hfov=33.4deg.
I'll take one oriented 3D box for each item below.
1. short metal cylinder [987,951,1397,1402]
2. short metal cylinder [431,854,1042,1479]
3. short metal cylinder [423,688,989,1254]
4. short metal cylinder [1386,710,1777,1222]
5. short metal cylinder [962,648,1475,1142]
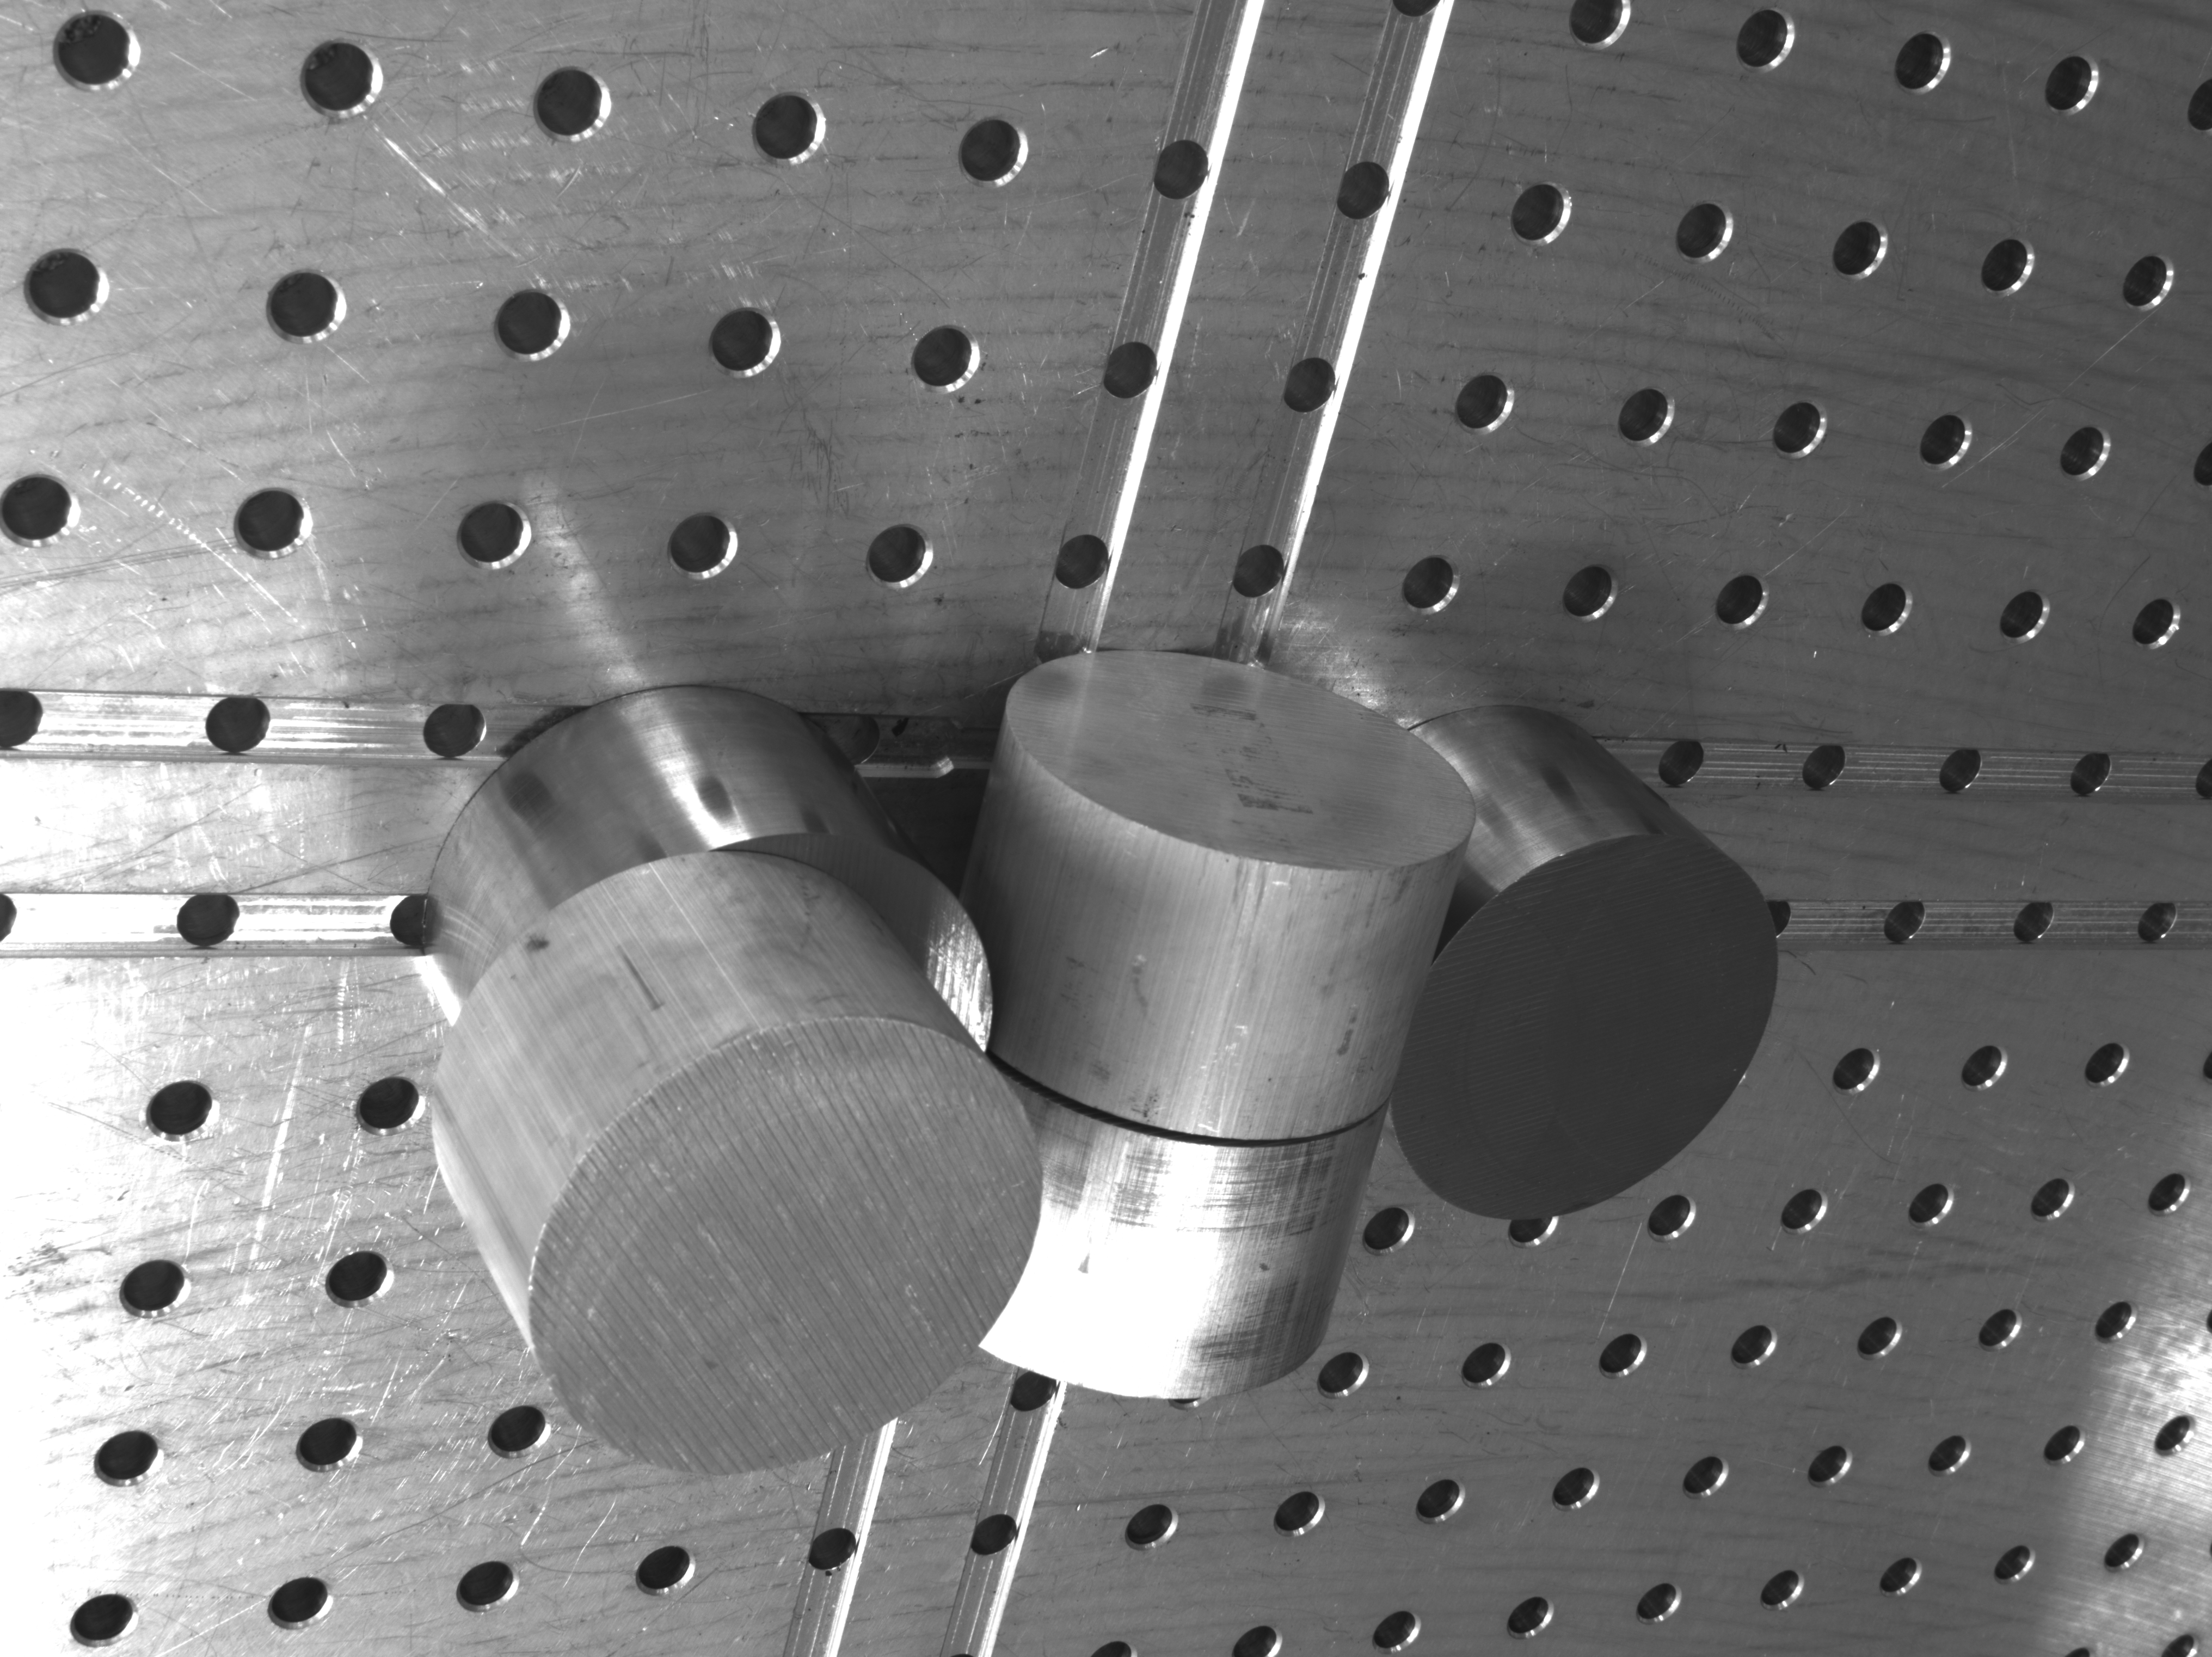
[{"bbox_3d":[0.006,0.055,0.642,0.080,0.080,0.050,-1,119,-28],"label":"short metal cylinder"},{"bbox_3d":[-0.056,0.051,0.559,0.080,0.050,0.080,-13,124,-21],"label":"short metal cylinder"},{"bbox_3d":[-0.066,0.024,0.604,0.080,0.050,0.080,-14,124,-21],"label":"short metal cylinder"},{"bbox_3d":[0.076,0.025,0.679,0.080,0.050,0.080,-14,124,-21],"label":"short metal cylinder"},{"bbox_3d":[0.017,0.010,0.621,0.080,0.080,0.050,1,118,-29],"label":"short metal cylinder"}]
